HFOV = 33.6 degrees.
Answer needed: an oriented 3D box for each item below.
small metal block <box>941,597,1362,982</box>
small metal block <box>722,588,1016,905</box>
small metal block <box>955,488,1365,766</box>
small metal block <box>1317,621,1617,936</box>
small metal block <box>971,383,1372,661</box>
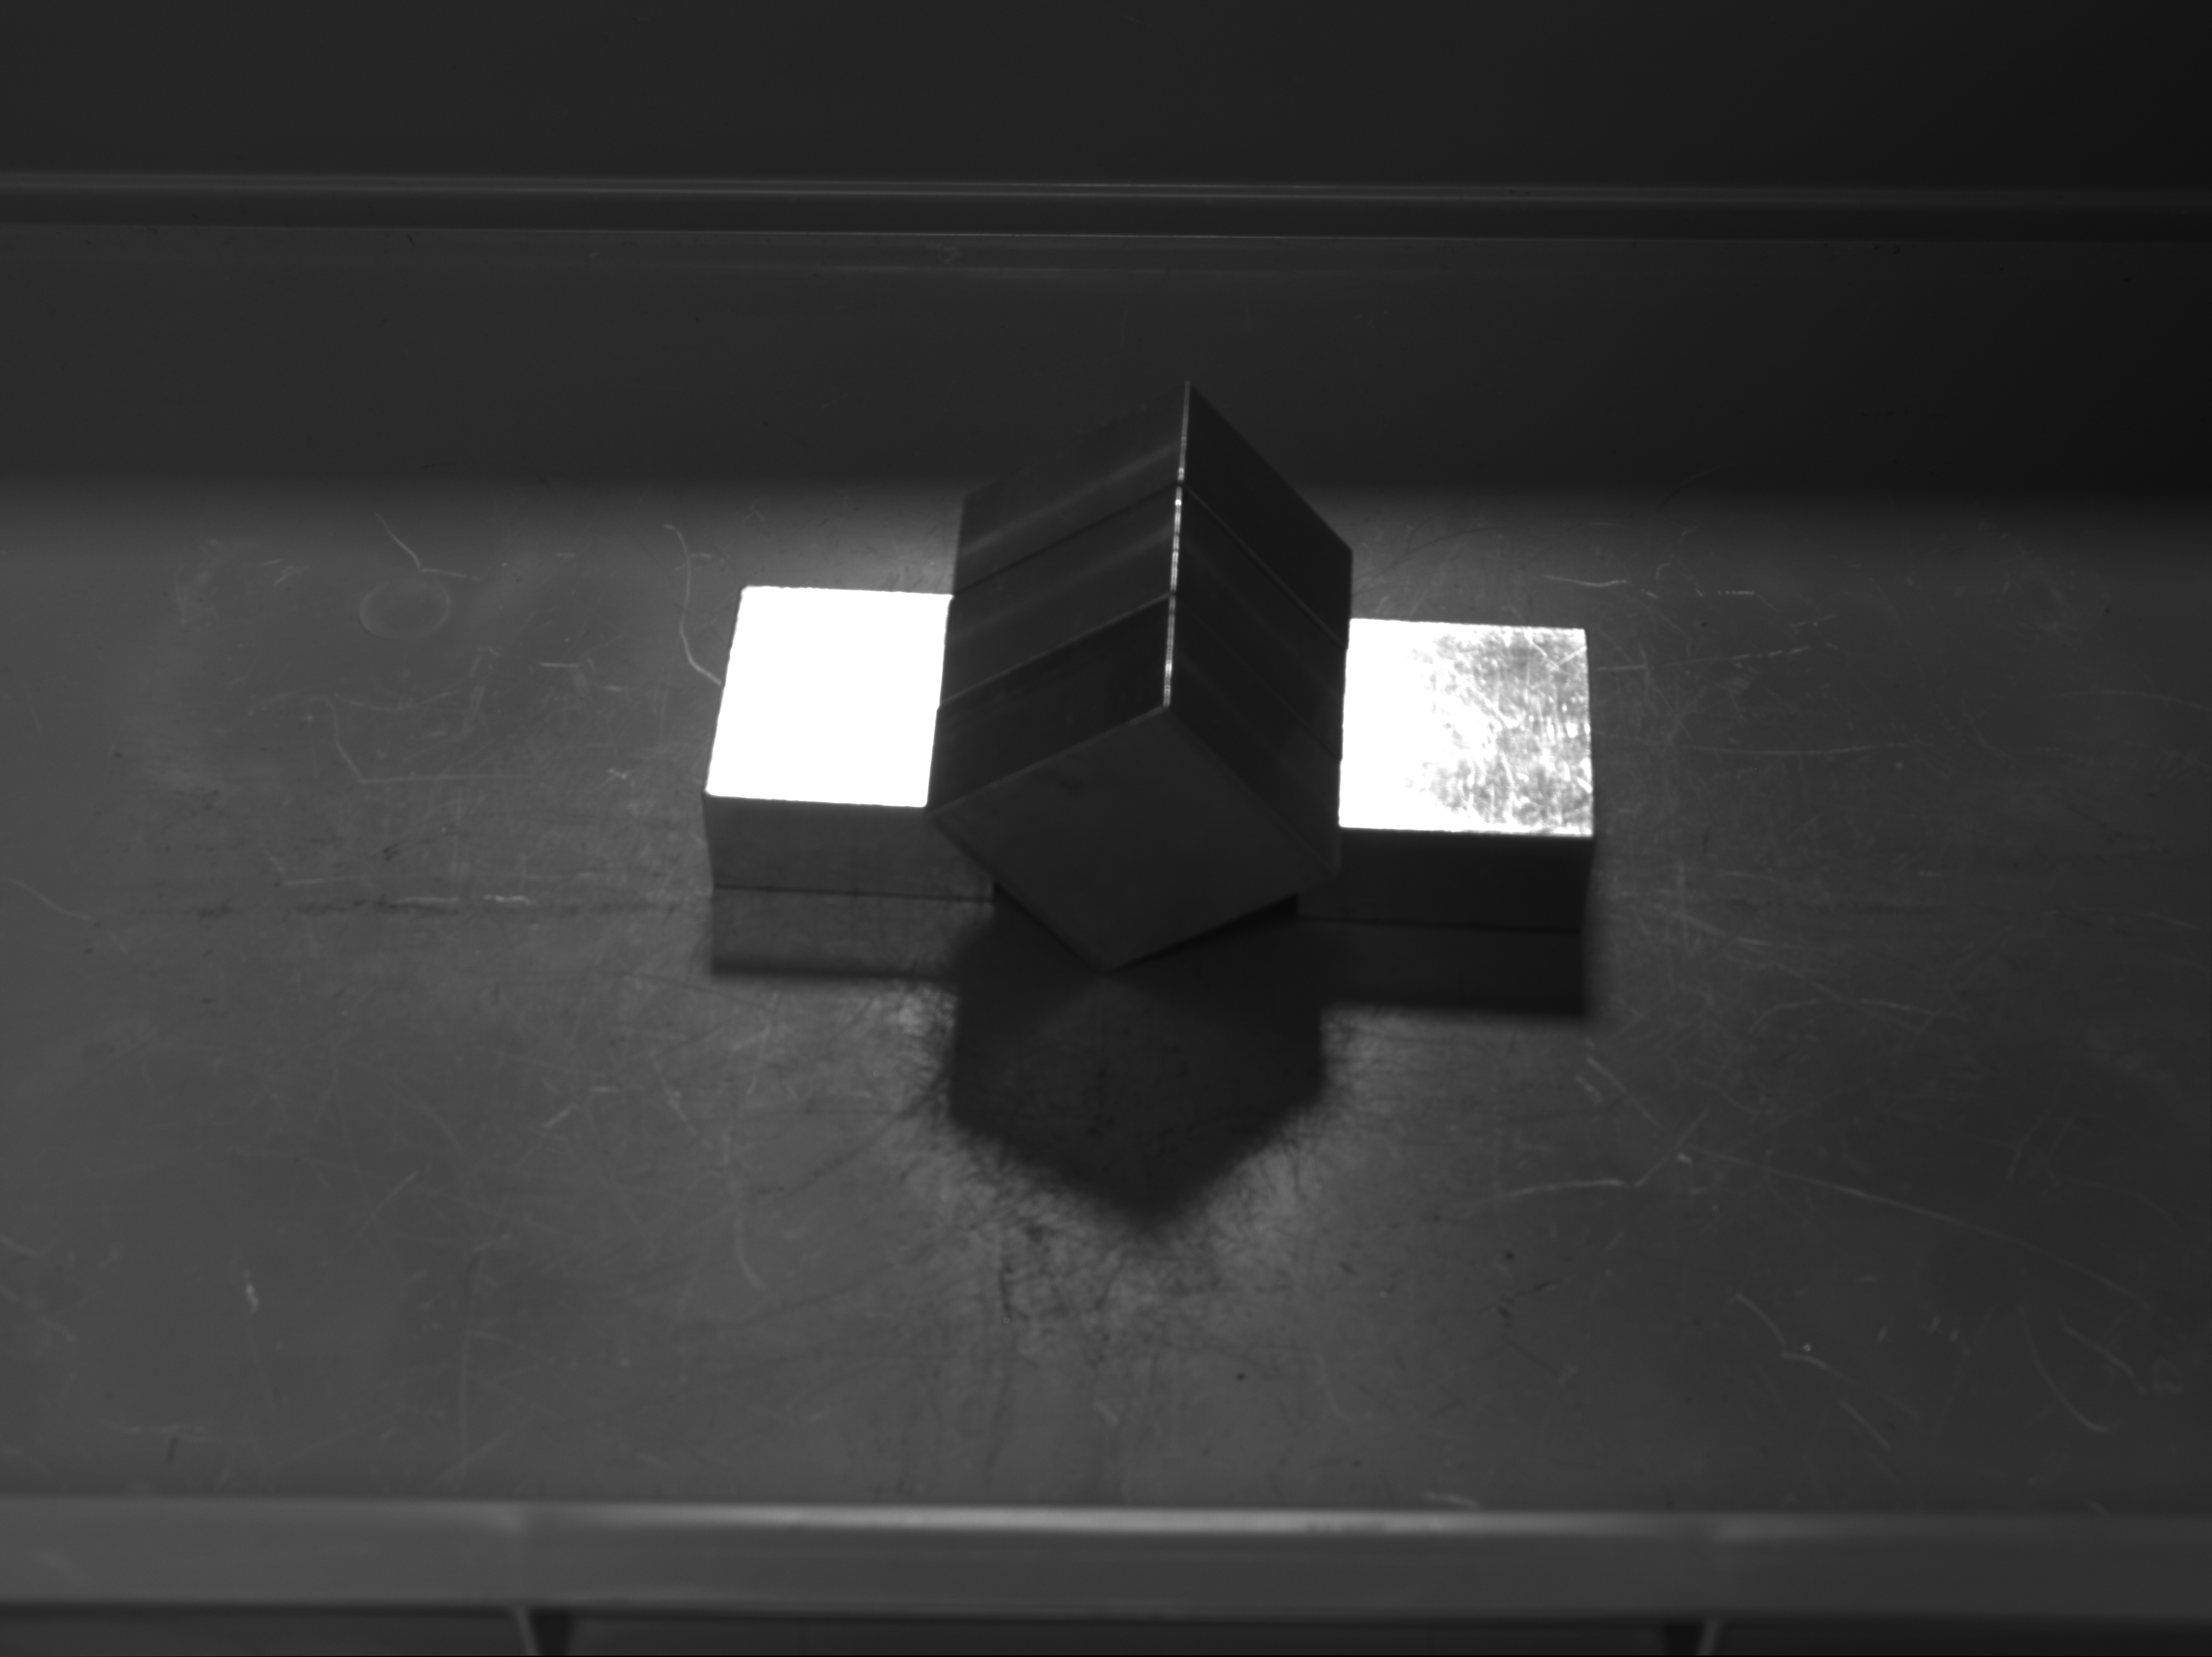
[{"bbox_3d":[0.008,-0.006,0.616,0.050,0.050,0.025,-24,42,28],"label":"small metal block"},{"bbox_3d":[-0.039,-0.015,0.653,0.050,0.025,0.050,3,50,3],"label":"small metal block"},{"bbox_3d":[0.010,-0.025,0.632,0.050,0.050,0.025,-24,42,28],"label":"small metal block"},{"bbox_3d":[0.063,-0.009,0.649,0.050,0.025,0.050,2,50,2],"label":"small metal block"},{"bbox_3d":[0.012,-0.045,0.648,0.050,0.050,0.025,-24,42,29],"label":"small metal block"}]
